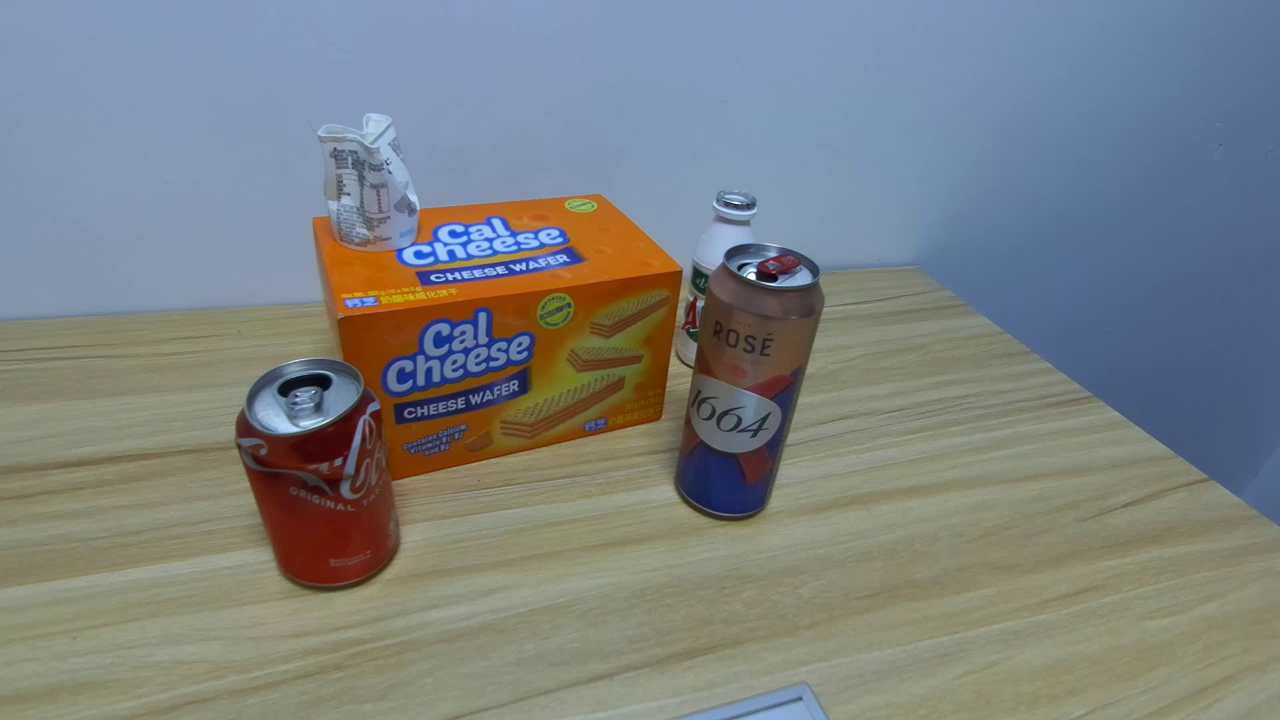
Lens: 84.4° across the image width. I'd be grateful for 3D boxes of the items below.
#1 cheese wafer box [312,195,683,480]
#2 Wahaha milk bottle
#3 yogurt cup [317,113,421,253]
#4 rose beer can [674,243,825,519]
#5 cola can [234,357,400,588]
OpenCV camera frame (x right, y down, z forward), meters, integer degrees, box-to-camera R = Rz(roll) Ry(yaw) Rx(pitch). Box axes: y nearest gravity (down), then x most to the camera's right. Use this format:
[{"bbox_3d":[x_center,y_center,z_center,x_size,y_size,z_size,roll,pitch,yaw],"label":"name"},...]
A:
[{"bbox_3d":[-0.103,-0.026,0.513,0.223,0.129,0.147,-11,38,-25],"label":"cheese wafer box"},{"bbox_3d":[0.065,-0.054,0.568,0.053,0.136,0.053,7,24,-3],"label":"Wahaha milk bottle"},{"bbox_3d":[-0.171,-0.112,0.447,0.055,0.072,0.055,17,34,12],"label":"yogurt cup"},{"bbox_3d":[0.064,0.018,0.434,0.069,0.169,0.068,5,31,-3],"label":"rose beer can"},{"bbox_3d":[-0.163,0.060,0.372,0.072,0.117,0.065,17,34,17],"label":"cola can"}]
